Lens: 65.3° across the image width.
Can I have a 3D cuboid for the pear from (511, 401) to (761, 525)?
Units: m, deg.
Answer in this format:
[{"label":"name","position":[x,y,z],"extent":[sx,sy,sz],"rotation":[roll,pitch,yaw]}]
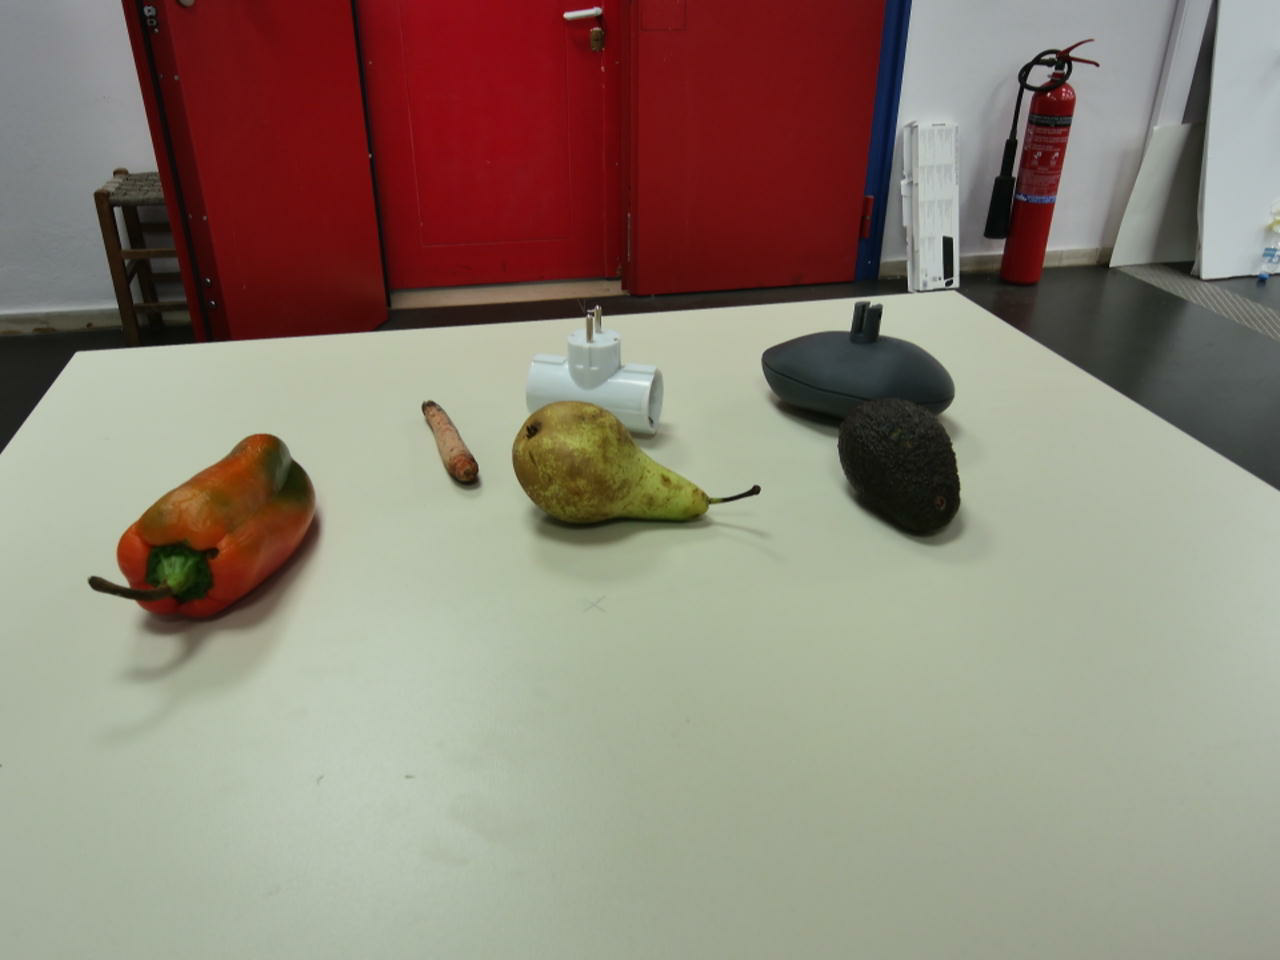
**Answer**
[{"label":"pear","position":[-0.004,-0.013,0.606],"extent":[0.144,0.075,0.071],"rotation":[-2,27,-5]}]
